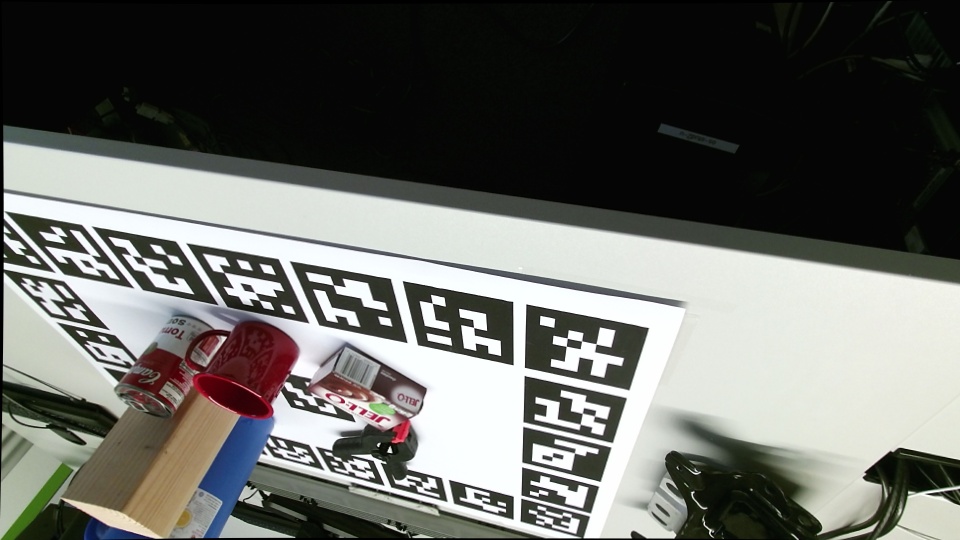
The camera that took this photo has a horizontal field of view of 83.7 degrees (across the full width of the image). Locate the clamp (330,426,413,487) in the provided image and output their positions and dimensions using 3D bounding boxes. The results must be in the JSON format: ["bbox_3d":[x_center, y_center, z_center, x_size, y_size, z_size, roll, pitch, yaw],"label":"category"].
[{"bbox_3d":[-0.140,0.251,0.745,0.122,0.036,0.165,34,136,-5],"label":"clamp"}]

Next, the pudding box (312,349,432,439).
[{"bbox_3d":[-0.126,0.146,0.621,0.114,0.038,0.090,34,133,-17],"label":"pudding box"}]

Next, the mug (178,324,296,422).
[{"bbox_3d":[-0.272,0.109,0.598,0.117,0.081,0.093,33,139,-16],"label":"mug"}]

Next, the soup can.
[{"bbox_3d":[-0.364,0.117,0.623,0.068,0.101,0.068,10,135,10],"label":"soup can"}]

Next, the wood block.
[{"bbox_3d":[-0.390,0.213,0.656,0.090,0.205,0.091,9,137,16],"label":"wood block"}]

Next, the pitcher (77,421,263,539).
[{"bbox_3d":[-0.413,0.304,0.738,0.189,0.241,0.133,6,139,10],"label":"pitcher"}]
